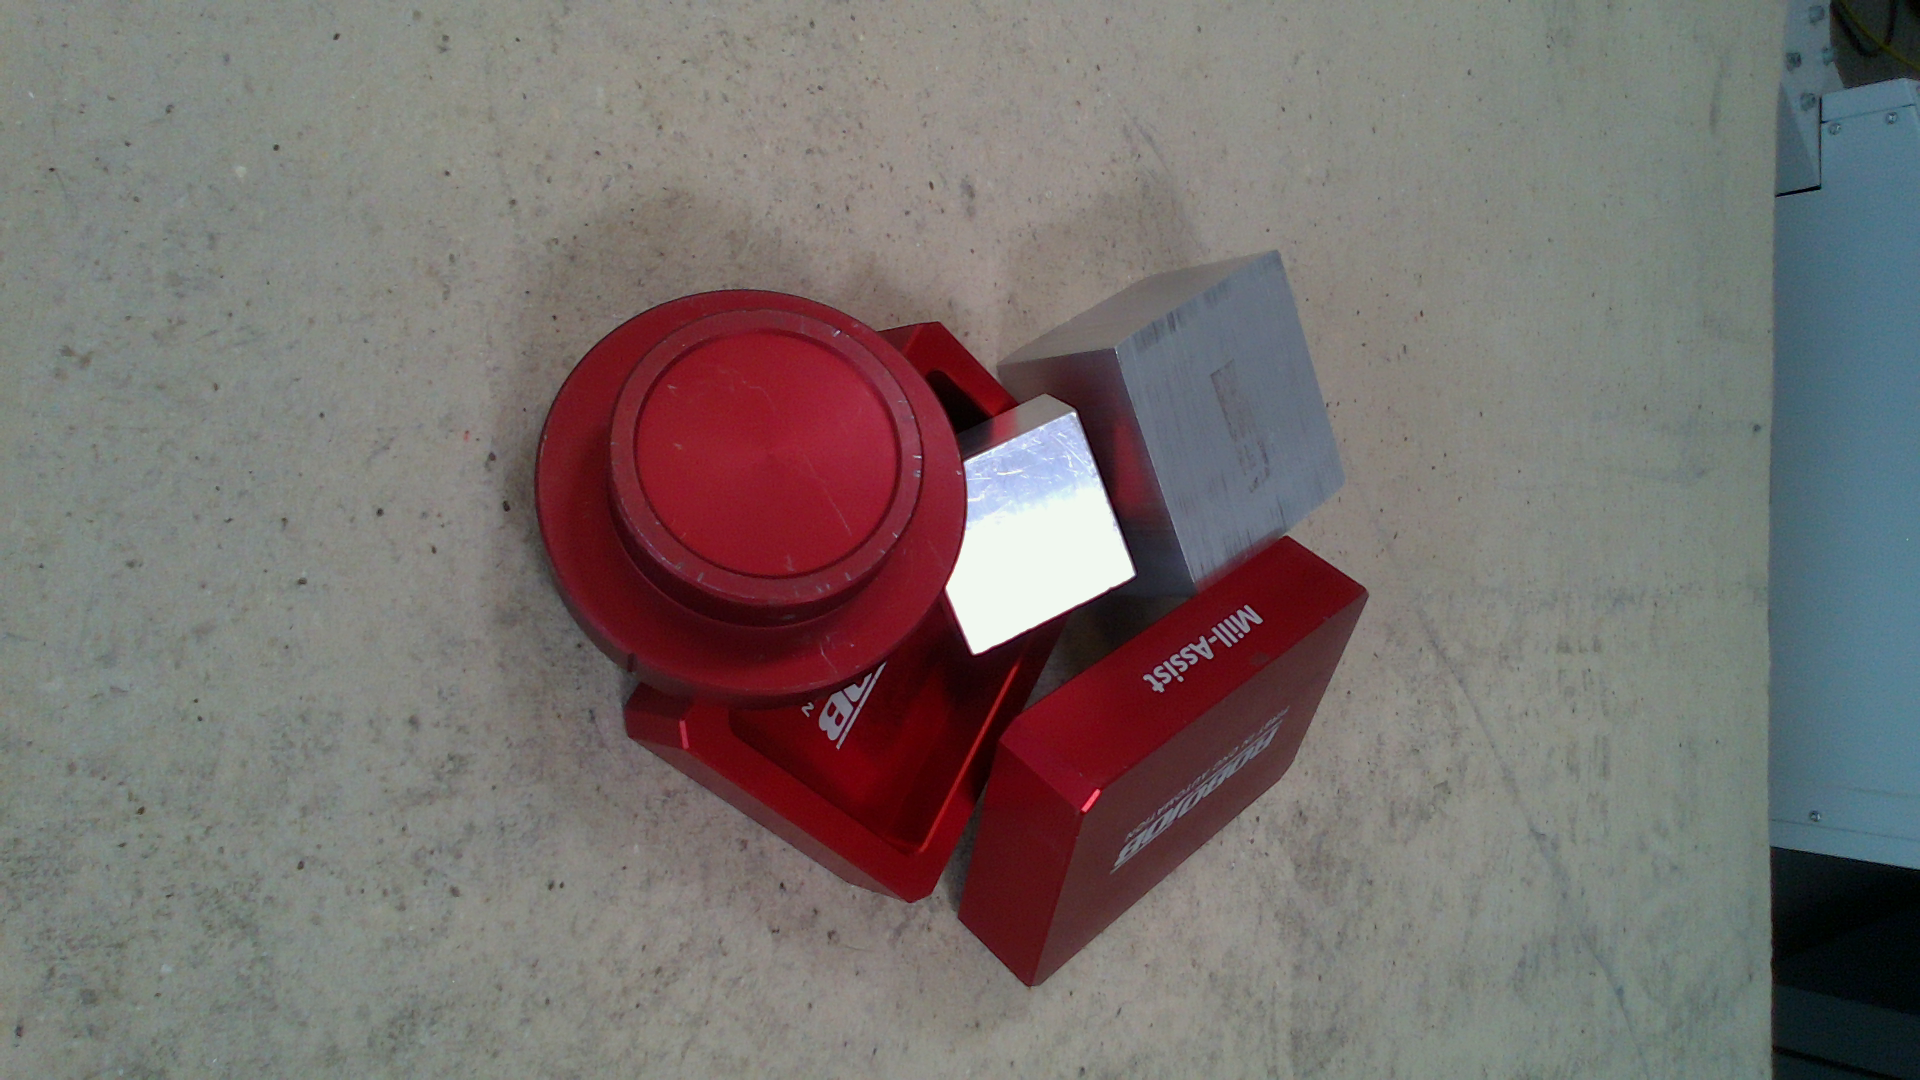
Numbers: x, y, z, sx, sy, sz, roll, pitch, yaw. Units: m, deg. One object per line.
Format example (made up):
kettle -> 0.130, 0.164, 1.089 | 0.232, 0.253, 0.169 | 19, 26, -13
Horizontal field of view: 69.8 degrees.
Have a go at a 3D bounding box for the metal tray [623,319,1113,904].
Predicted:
metal tray -> -0.018, 0.018, 0.369 | 0.090, 0.030, 0.130 | 42, 65, -32

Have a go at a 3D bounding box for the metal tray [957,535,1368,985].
metal tray -> 0.061, 0.063, 0.406 | 0.130, 0.030, 0.090 | -29, 144, -36

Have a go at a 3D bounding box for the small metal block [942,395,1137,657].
small metal block -> 0.013, -0.005, 0.370 | 0.050, 0.025, 0.050 | -26, 111, -8

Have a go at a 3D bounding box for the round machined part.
round machined part -> -0.046, -0.013, 0.312 | 0.098, 0.042, 0.098 | 4, 72, -13

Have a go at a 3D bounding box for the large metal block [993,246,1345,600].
large metal block -> 0.067, -0.036, 0.429 | 0.080, 0.050, 0.080 | -33, 111, -35
